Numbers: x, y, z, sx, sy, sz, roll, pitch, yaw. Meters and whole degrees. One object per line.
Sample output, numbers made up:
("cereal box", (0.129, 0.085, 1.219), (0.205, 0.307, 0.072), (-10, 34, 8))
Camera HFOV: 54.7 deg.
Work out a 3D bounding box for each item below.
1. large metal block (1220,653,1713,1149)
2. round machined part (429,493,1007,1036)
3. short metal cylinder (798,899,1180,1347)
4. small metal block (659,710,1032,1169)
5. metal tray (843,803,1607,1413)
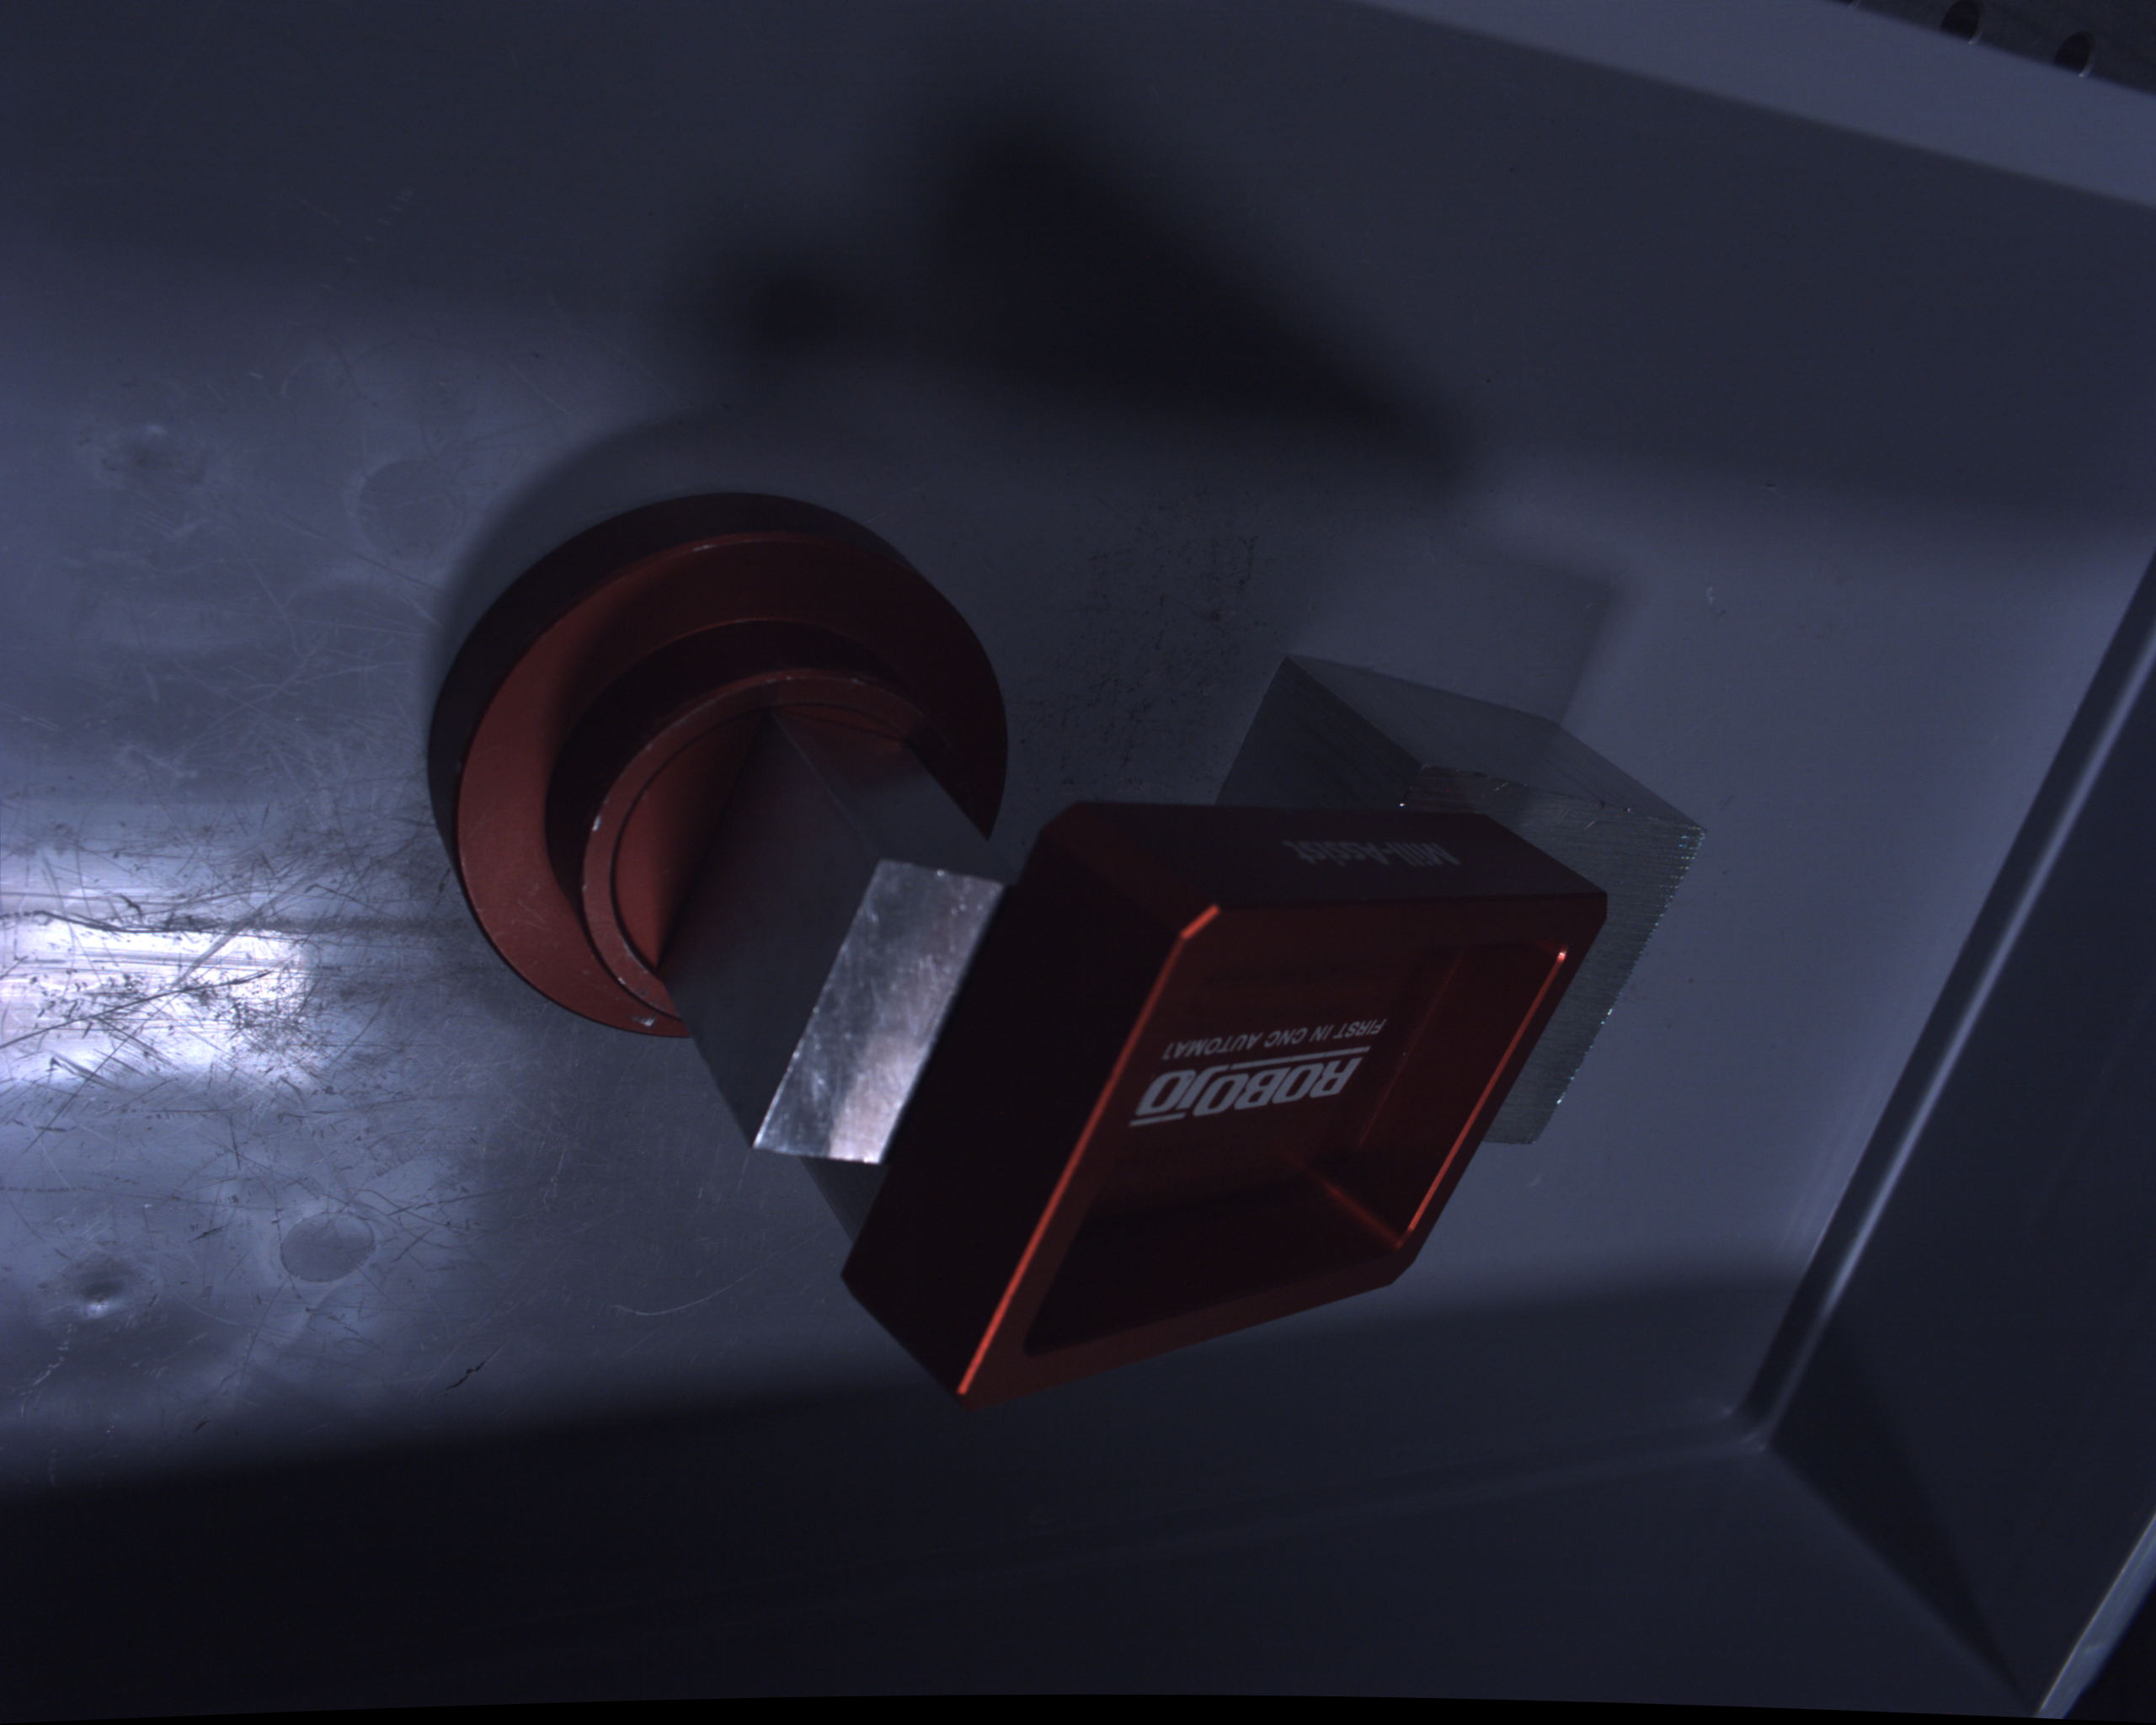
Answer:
("large metal block", (0.071, 0.010, 0.436), (0.081, 0.050, 0.079), (10, 113, -33))
("round machined part", (-0.057, -0.010, 0.359), (0.099, 0.042, 0.097), (-14, 125, -21))
("short metal cylinder", (-0.011, 0.049, 0.401), (0.081, 0.050, 0.080), (-26, 145, -20))
("small metal block", (-0.038, 0.012, 0.323), (0.025, 0.050, 0.050), (13, 112, -34))
("metal tray", (0.030, 0.037, 0.353), (0.131, 0.030, 0.089), (0, 121, -51))
